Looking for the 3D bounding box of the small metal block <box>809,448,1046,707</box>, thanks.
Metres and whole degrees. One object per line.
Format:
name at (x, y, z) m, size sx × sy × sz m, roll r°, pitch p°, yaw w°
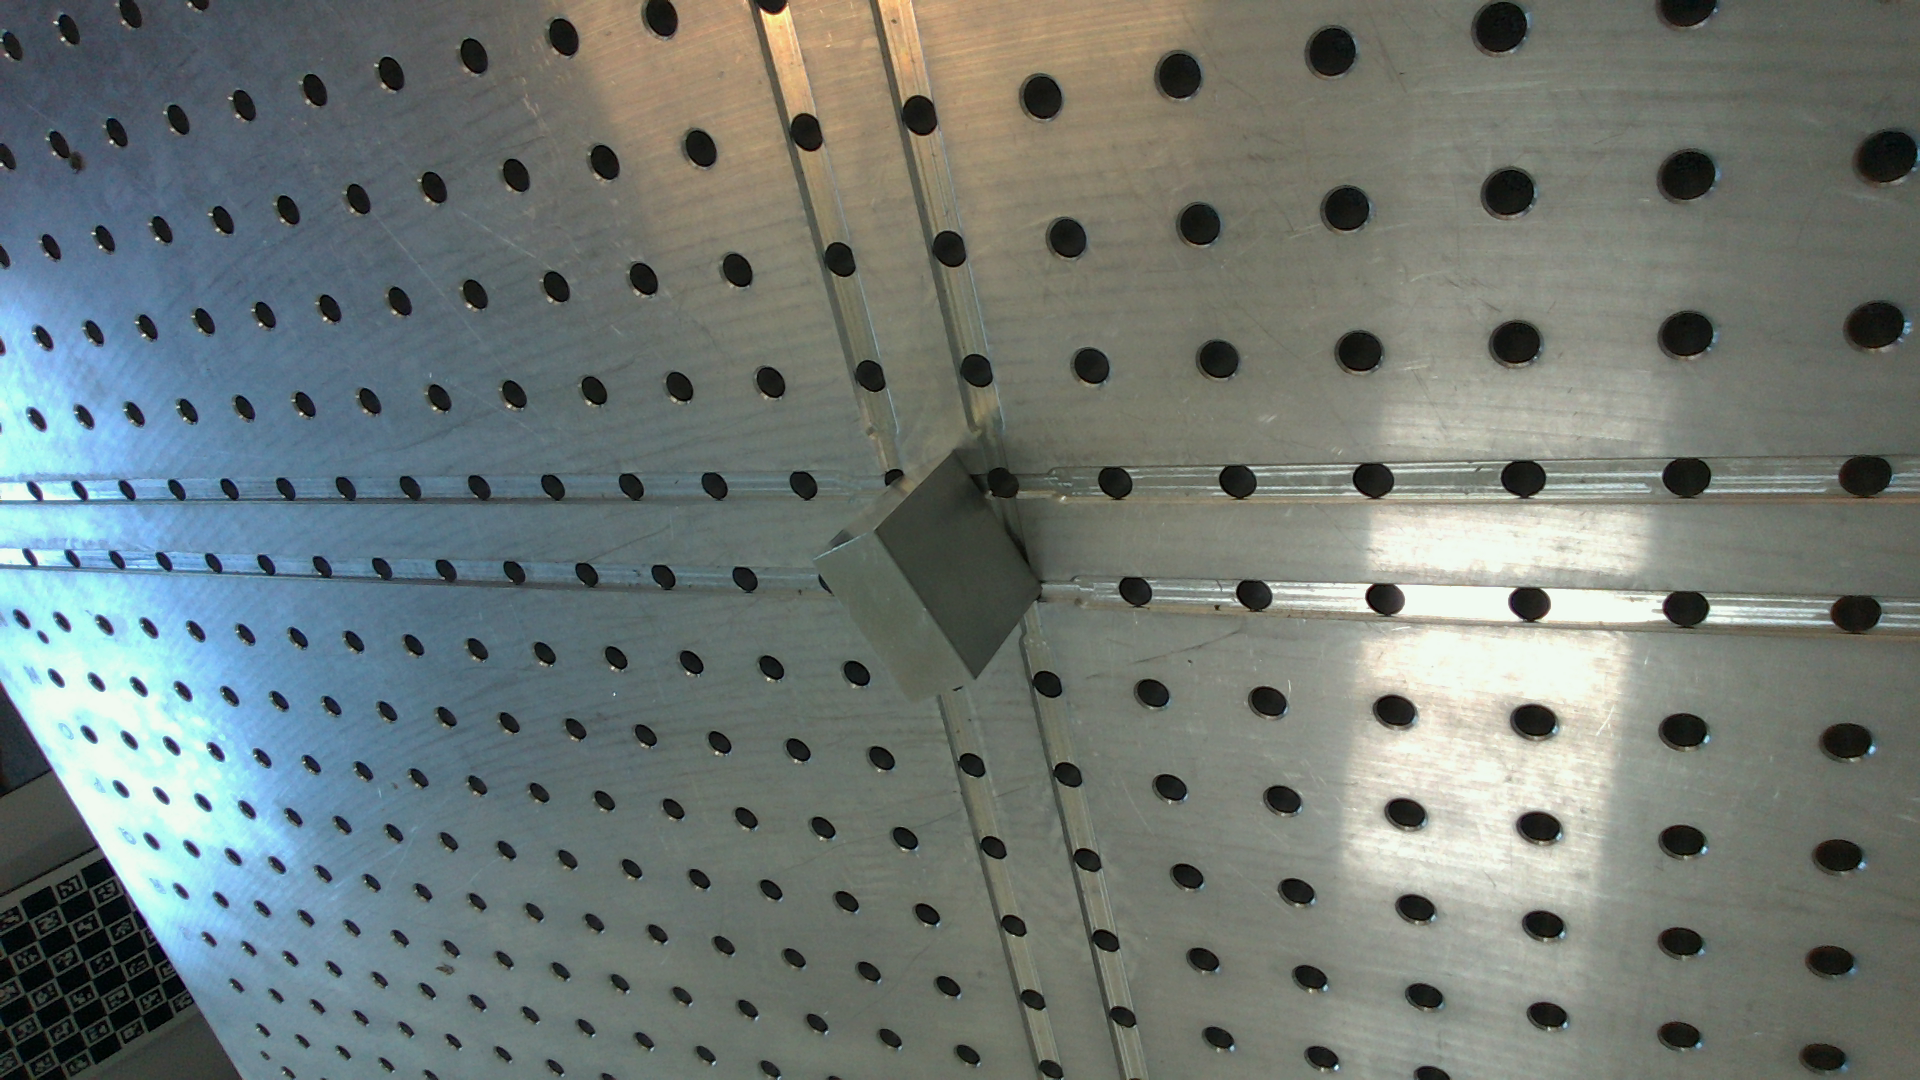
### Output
small metal block at (-0.008, 0.010, 0.390) m, size 0.025 × 0.050 × 0.050 m, roll -25°, pitch 105°, yaw 37°
